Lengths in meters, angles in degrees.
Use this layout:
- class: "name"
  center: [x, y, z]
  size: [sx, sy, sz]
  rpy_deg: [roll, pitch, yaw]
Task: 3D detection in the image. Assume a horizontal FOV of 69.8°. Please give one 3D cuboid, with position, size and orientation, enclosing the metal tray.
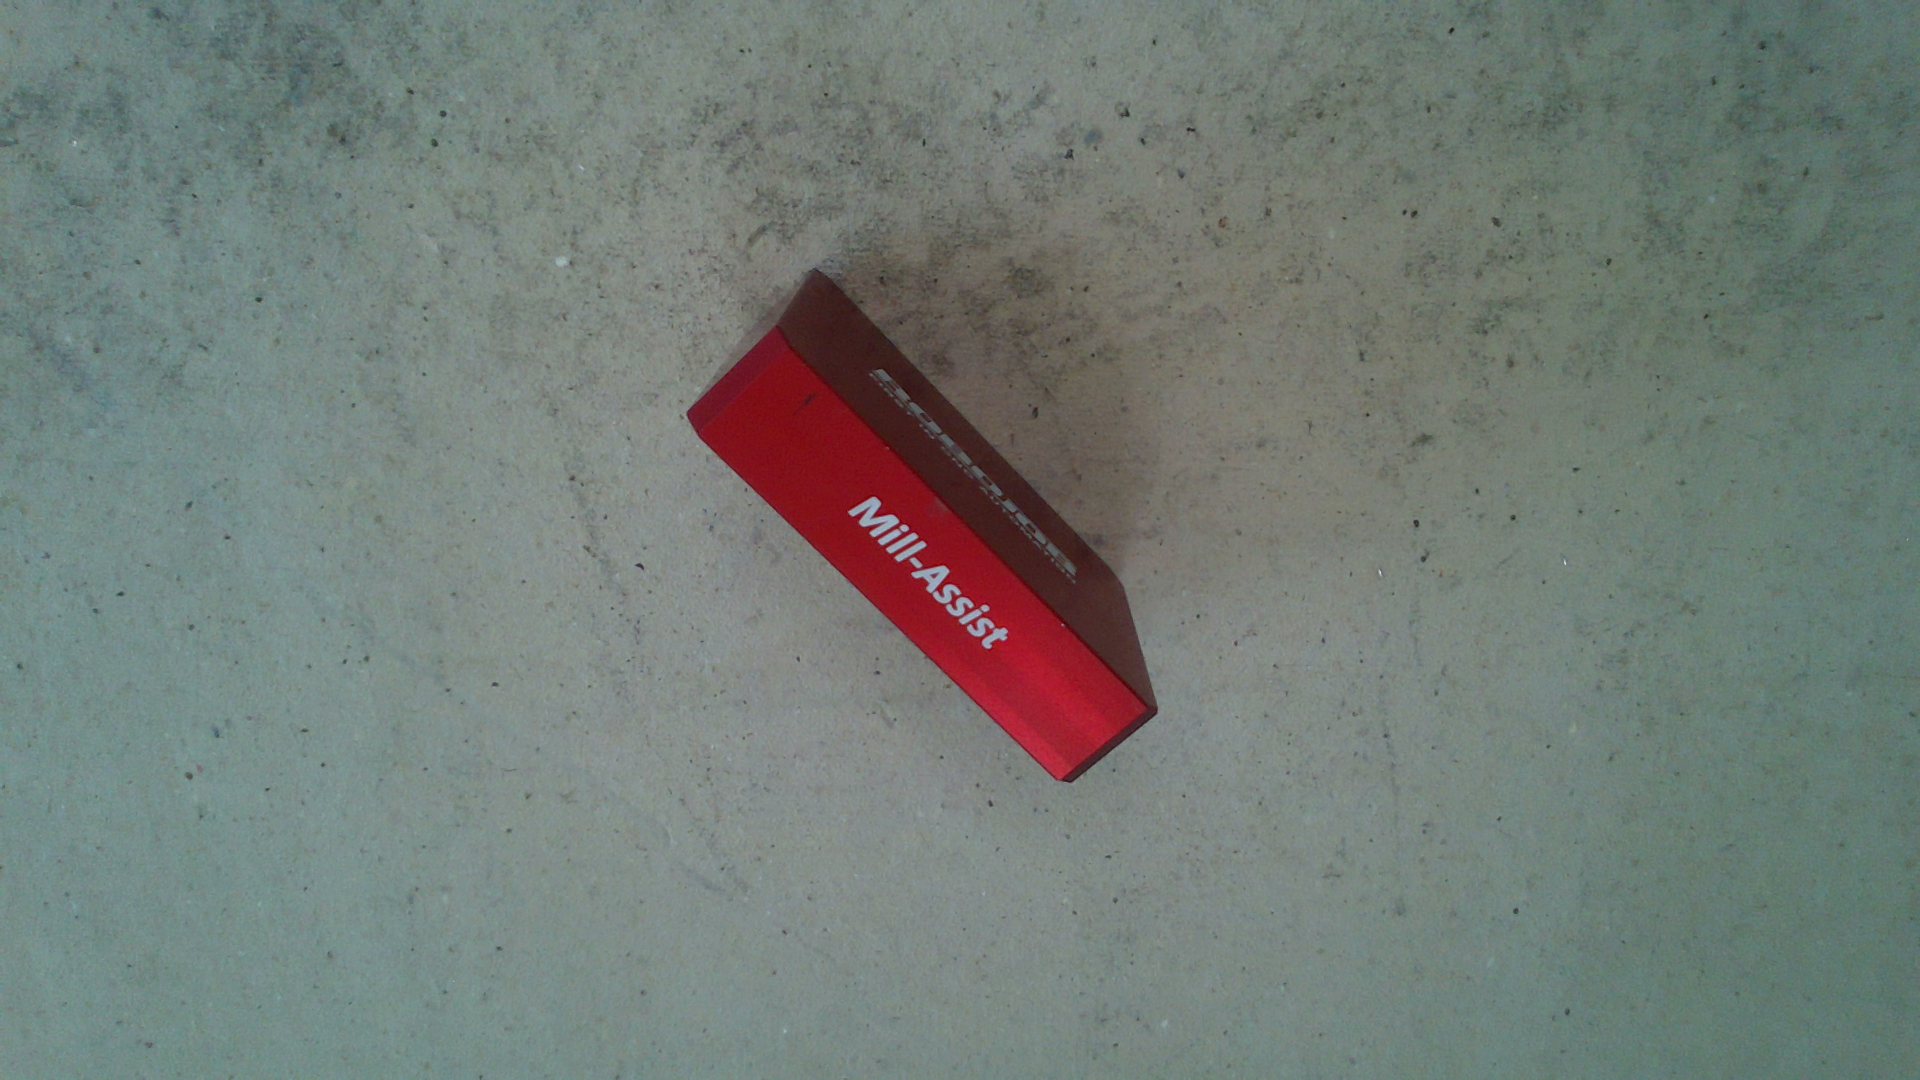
- class: "metal tray"
  center: [-0.007, -0.007, 0.356]
  size: [0.030, 0.090, 0.130]
  rpy_deg: [-41, 106, 14]
